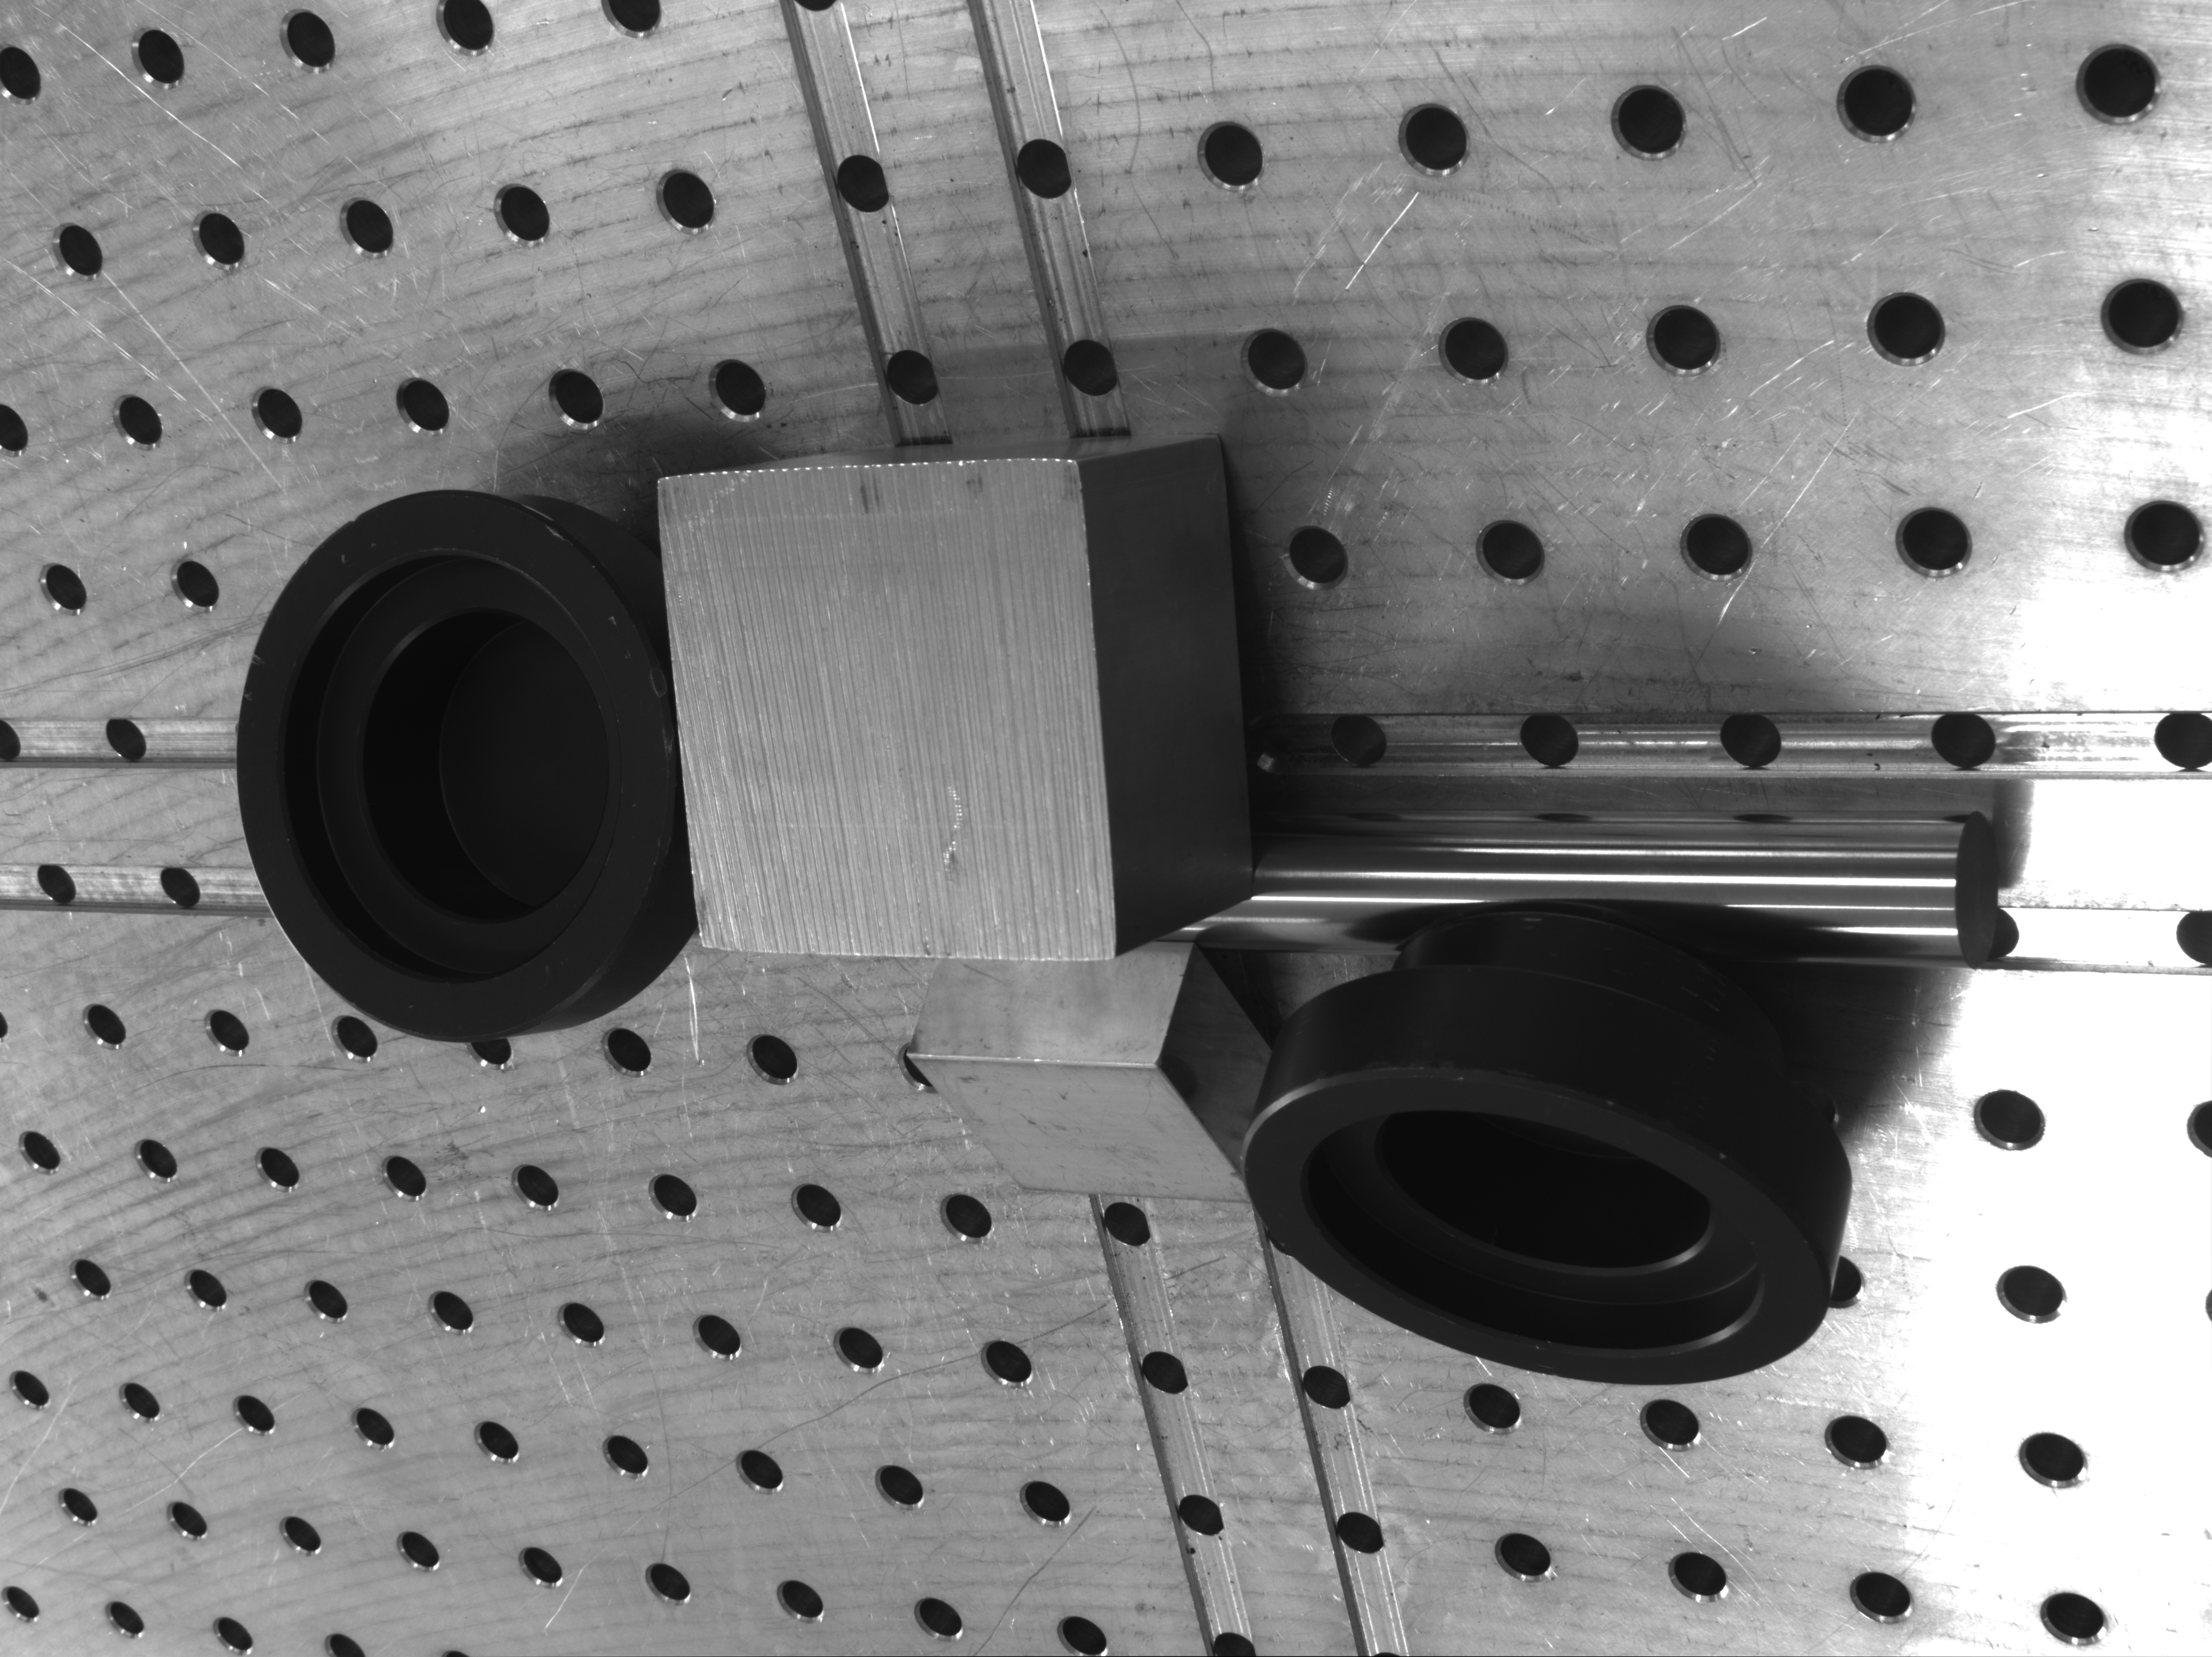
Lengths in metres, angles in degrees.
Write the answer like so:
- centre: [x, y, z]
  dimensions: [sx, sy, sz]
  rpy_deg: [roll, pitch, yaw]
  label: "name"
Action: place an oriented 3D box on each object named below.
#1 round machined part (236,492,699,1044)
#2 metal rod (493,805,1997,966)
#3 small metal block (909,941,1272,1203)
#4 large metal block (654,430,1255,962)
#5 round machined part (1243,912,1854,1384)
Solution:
- centre: [-0.107, -0.011, 0.669]
  dimensions: [0.098, 0.042, 0.098]
  rpy_deg: [1, 93, 28]
  label: "round machined part"
- centre: [0.005, 0.008, 0.649]
  dimensions: [0.299, 0.025, 0.025]
  rpy_deg: [0, 118, 28]
  label: "metal rod"
- centre: [0.000, 0.043, 0.660]
  dimensions: [0.050, 0.025, 0.050]
  rpy_deg: [1, 147, 28]
  label: "small metal block"
- centre: [-0.025, -0.023, 0.615]
  dimensions: [0.080, 0.050, 0.080]
  rpy_deg: [1, 100, 28]
  label: "large metal block"
- centre: [0.075, 0.050, 0.609]
  dimensions: [0.098, 0.042, 0.098]
  rpy_deg: [14, 148, 9]
  label: "round machined part"
